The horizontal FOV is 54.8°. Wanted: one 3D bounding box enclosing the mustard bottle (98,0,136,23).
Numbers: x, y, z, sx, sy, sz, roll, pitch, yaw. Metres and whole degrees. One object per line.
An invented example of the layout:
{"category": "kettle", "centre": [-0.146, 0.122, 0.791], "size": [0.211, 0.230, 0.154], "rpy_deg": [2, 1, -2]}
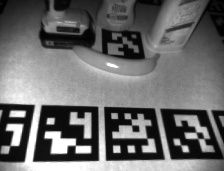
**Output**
{"category": "mustard bottle", "centre": [0.025, -0.236, 0.494], "size": [0.097, 0.191, 0.058], "rpy_deg": [3, 56, -9]}

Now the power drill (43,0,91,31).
{"category": "power drill", "centre": [-0.071, -0.201, 0.428], "size": [0.186, 0.187, 0.057], "rpy_deg": [1, 50, -13]}

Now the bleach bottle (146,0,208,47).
{"category": "bleach bottle", "centre": [0.158, -0.192, 0.467], "size": [0.103, 0.251, 0.067], "rpy_deg": [-5, 59, -13]}

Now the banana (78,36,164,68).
{"category": "banana", "centre": [0.023, -0.076, 0.479], "size": [0.198, 0.039, 0.074], "rpy_deg": [5, 61, -7]}
